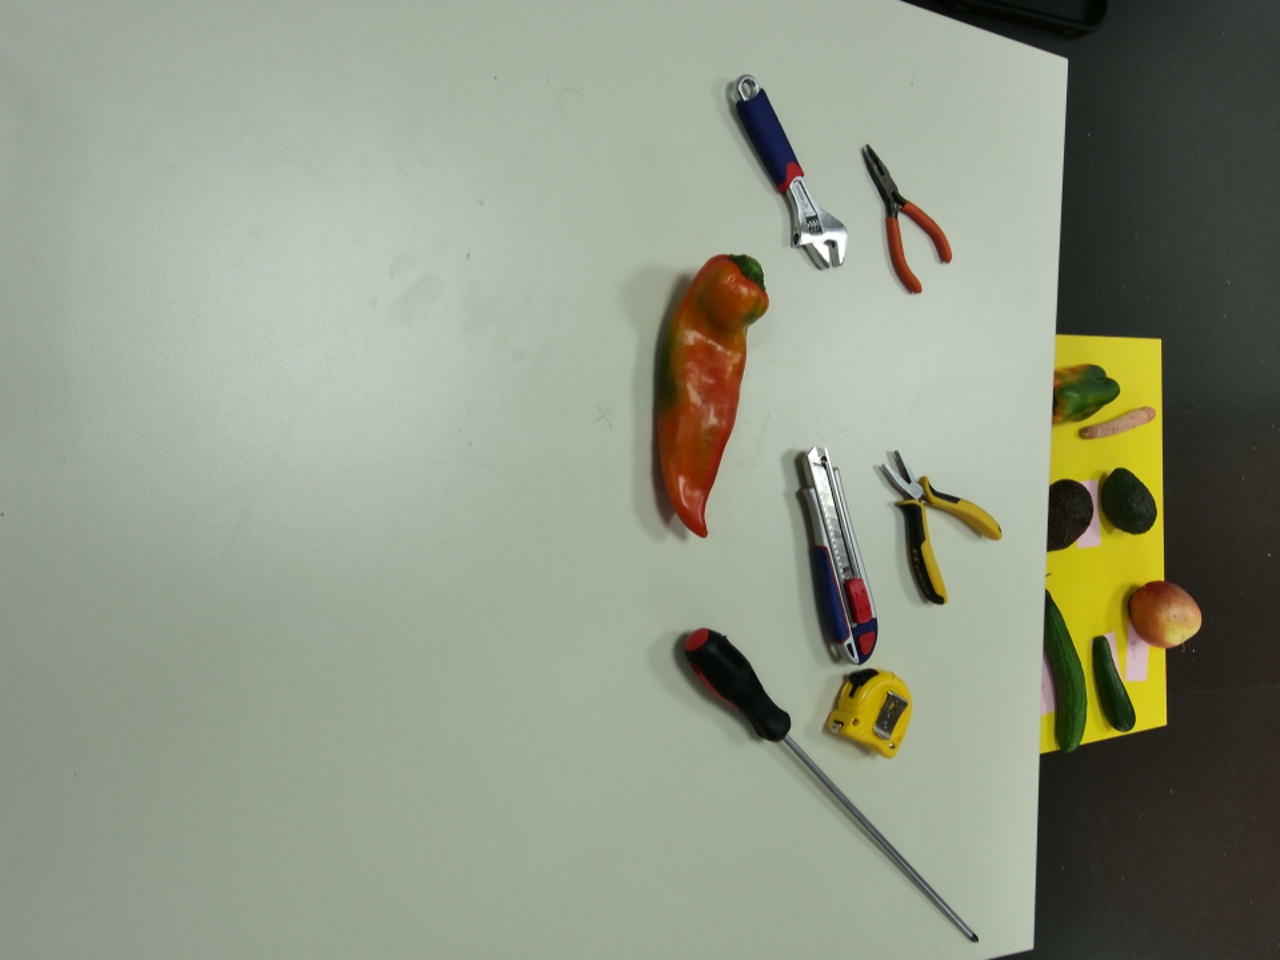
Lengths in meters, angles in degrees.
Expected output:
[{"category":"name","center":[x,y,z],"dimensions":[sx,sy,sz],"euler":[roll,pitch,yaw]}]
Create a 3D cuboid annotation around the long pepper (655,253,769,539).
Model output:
[{"category":"long pepper","center":[0.051,-0.059,0.696],"dimensions":[0.066,0.065,0.199],"euler":[10,86,-28]}]
